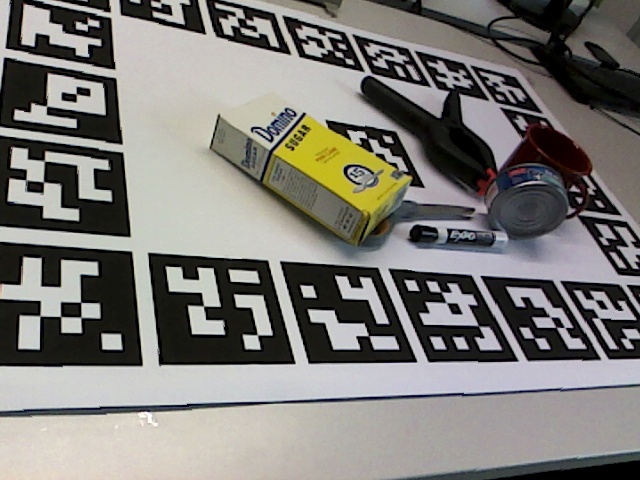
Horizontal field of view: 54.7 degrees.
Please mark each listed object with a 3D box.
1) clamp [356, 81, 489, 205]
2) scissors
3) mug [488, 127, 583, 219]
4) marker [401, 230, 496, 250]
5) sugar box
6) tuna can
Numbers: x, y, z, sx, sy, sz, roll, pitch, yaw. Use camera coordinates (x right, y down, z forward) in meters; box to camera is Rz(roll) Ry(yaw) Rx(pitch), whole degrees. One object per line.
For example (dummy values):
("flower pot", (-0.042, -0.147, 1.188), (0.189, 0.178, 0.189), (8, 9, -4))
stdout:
("clamp", (0.153, -0.129, 0.799), (0.164, 0.037, 0.204), (-4, 52, -34))
("scissors", (0.087, -0.036, 0.659), (0.201, 0.016, 0.088), (-4, 47, -36))
("mug", (0.268, -0.073, 0.765), (0.093, 0.081, 0.118), (-23, 60, -44))
("marker", (0.137, 0.000, 0.656), (0.120, 0.019, 0.020), (1, 50, -29))
("sugar box", (-0.007, -0.072, 0.614), (0.177, 0.045, 0.092), (37, 40, 16))
("tuna can", (0.231, -0.040, 0.702), (0.085, 0.086, 0.034), (18, 42, -15))
